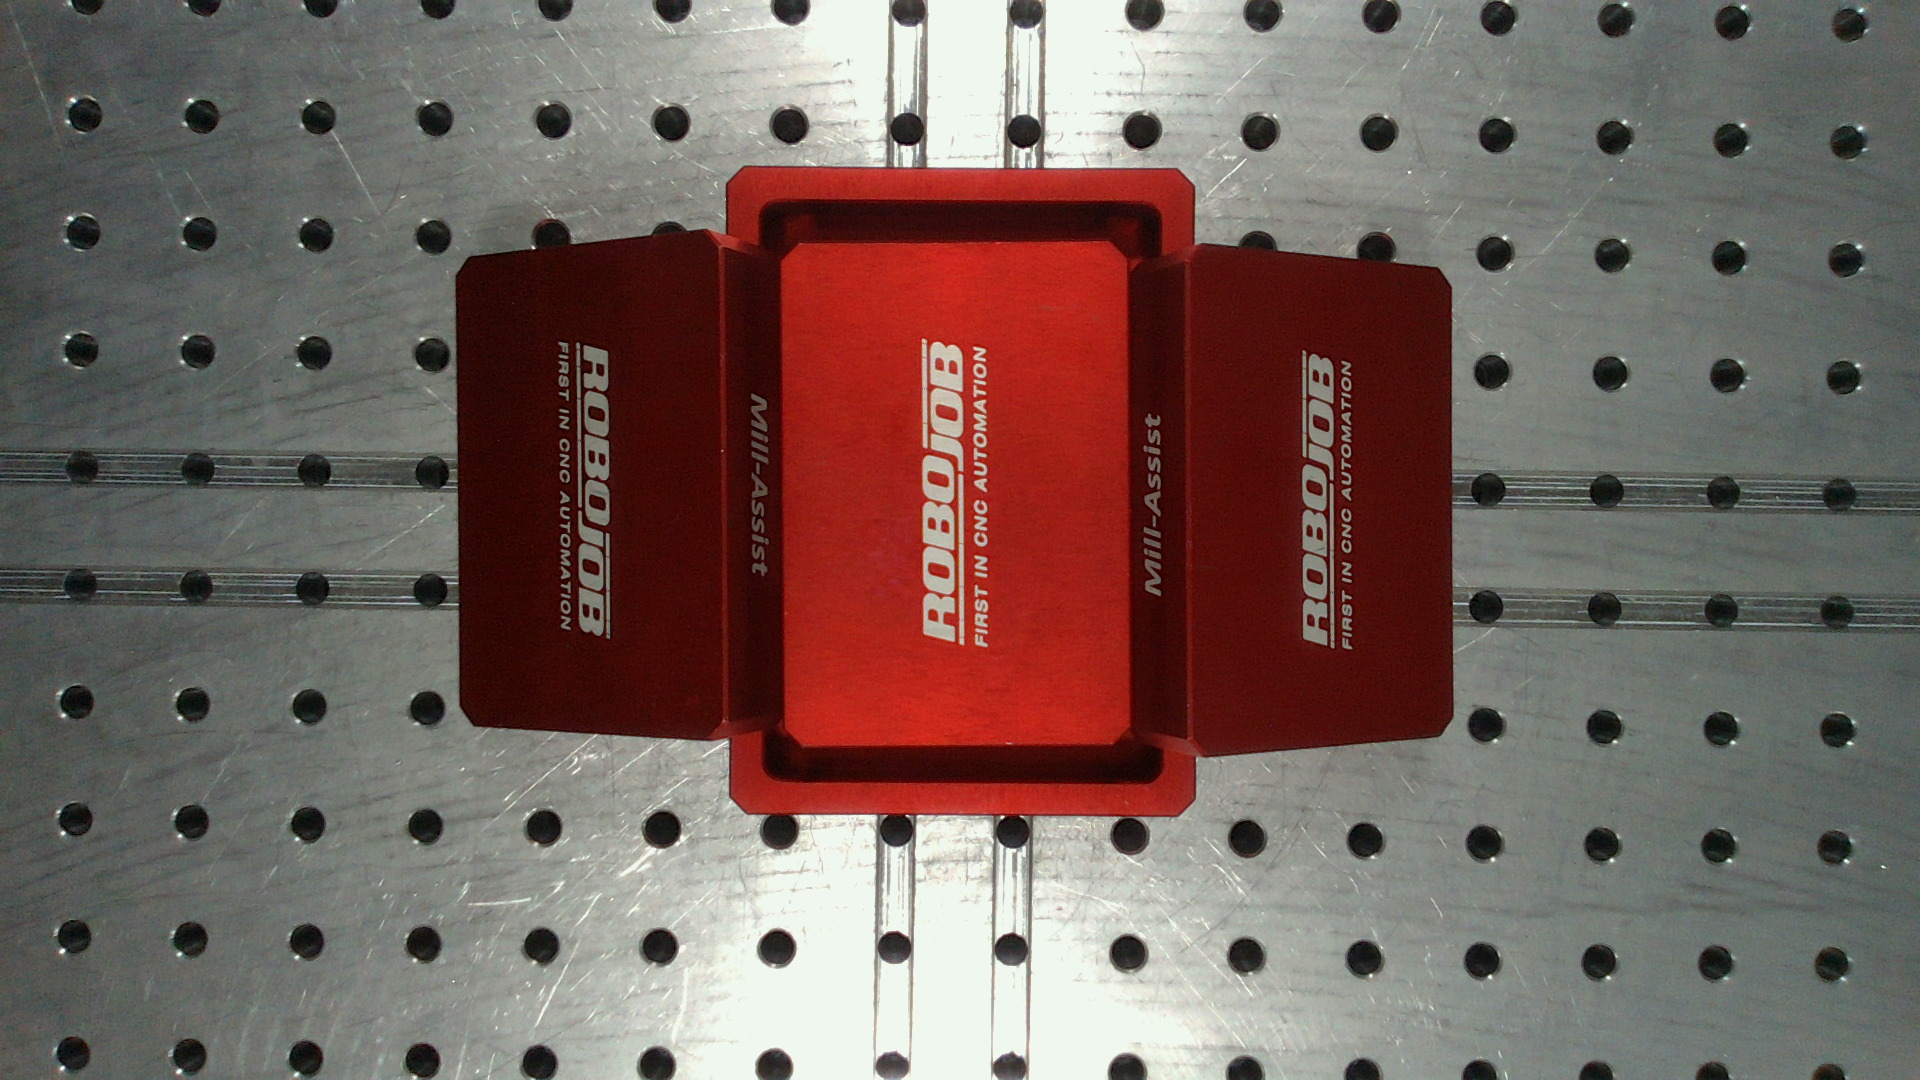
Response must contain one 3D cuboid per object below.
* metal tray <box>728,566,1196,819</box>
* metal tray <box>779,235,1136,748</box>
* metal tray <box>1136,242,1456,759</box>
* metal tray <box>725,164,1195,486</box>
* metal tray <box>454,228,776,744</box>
[{"bbox_3d":[0.001,0.032,0.396,0.130,0.030,0.090,0,91,0],"label":"metal tray"},{"bbox_3d":[-0.001,-0.012,0.365,0.090,0.030,0.130,-1,90,0],"label":"metal tray"},{"bbox_3d":[0.092,-0.010,0.376,0.090,0.030,0.130,-1,90,-27],"label":"metal tray"},{"bbox_3d":[0.000,-0.059,0.395,0.130,0.030,0.090,0,91,0],"label":"metal tray"},{"bbox_3d":[-0.094,-0.014,0.377,0.090,0.030,0.130,0,91,26],"label":"metal tray"}]
